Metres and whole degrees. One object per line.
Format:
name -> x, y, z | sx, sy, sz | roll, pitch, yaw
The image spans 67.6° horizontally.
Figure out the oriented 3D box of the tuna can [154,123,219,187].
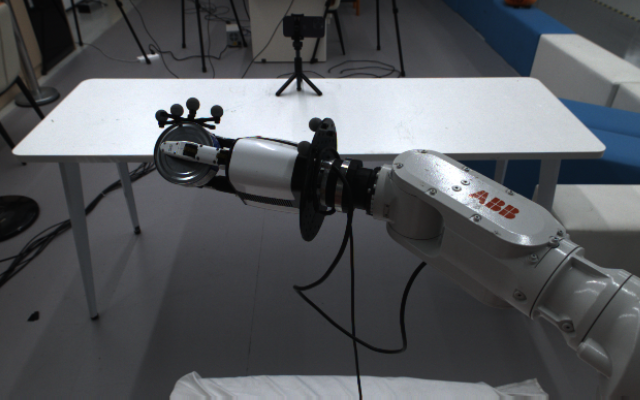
tuna can -> -0.175, -0.059, 0.657 | 0.085, 0.085, 0.034 | 10, -7, 11
